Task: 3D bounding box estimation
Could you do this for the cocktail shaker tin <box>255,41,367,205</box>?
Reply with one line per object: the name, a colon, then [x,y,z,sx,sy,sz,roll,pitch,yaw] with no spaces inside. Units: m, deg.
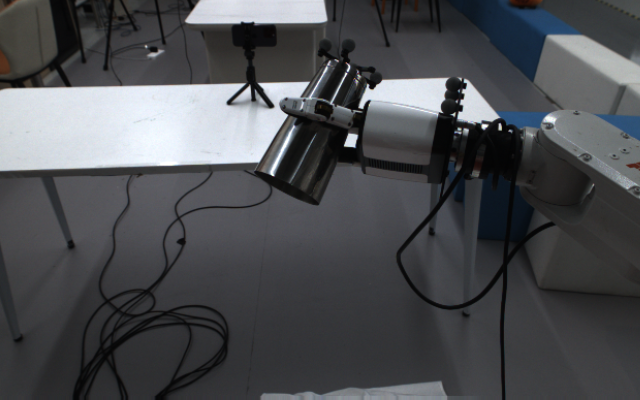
cocktail shaker tin: [-0.003,-0.093,0.618,0.093,0.093,0.170,21,81,25]
